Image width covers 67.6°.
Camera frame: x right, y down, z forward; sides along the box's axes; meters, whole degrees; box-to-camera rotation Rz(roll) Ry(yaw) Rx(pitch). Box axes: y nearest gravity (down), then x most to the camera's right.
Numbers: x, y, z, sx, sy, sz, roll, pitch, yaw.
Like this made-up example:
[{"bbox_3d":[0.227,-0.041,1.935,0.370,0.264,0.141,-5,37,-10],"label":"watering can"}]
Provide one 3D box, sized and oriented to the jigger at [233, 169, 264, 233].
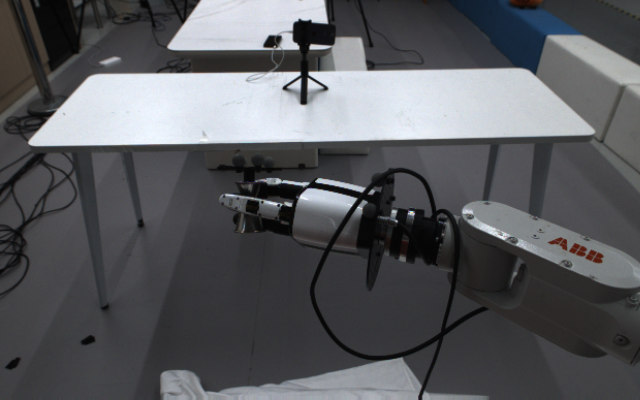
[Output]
[{"bbox_3d":[-0.095,0.009,0.658,0.043,0.071,0.043,0,2,0],"label":"jigger"}]
